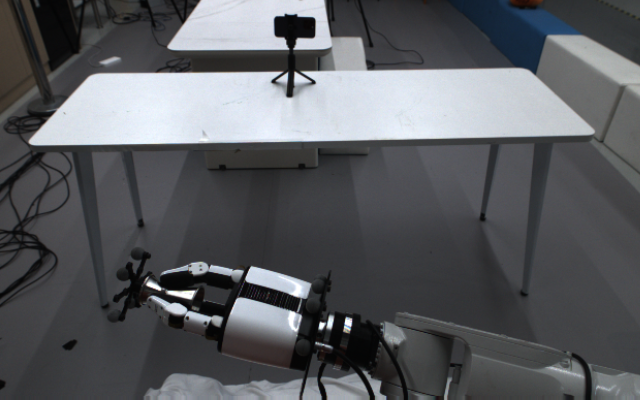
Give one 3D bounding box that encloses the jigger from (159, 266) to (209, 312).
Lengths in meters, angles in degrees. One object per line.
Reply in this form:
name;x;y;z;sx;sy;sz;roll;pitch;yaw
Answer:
jigger;-0.179;0.120;0.607;0.071;0.043;0.043;14;36;5
